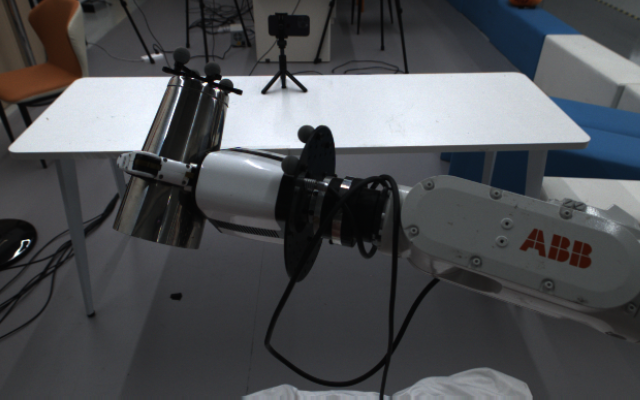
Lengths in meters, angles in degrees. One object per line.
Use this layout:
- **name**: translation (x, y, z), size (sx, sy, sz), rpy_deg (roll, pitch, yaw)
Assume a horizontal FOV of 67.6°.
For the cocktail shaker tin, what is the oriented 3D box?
- **cocktail shaker tin**: translation (-0.151, -0.040, 0.524), size (0.093, 0.170, 0.093), rpy_deg (15, -4, 1)
